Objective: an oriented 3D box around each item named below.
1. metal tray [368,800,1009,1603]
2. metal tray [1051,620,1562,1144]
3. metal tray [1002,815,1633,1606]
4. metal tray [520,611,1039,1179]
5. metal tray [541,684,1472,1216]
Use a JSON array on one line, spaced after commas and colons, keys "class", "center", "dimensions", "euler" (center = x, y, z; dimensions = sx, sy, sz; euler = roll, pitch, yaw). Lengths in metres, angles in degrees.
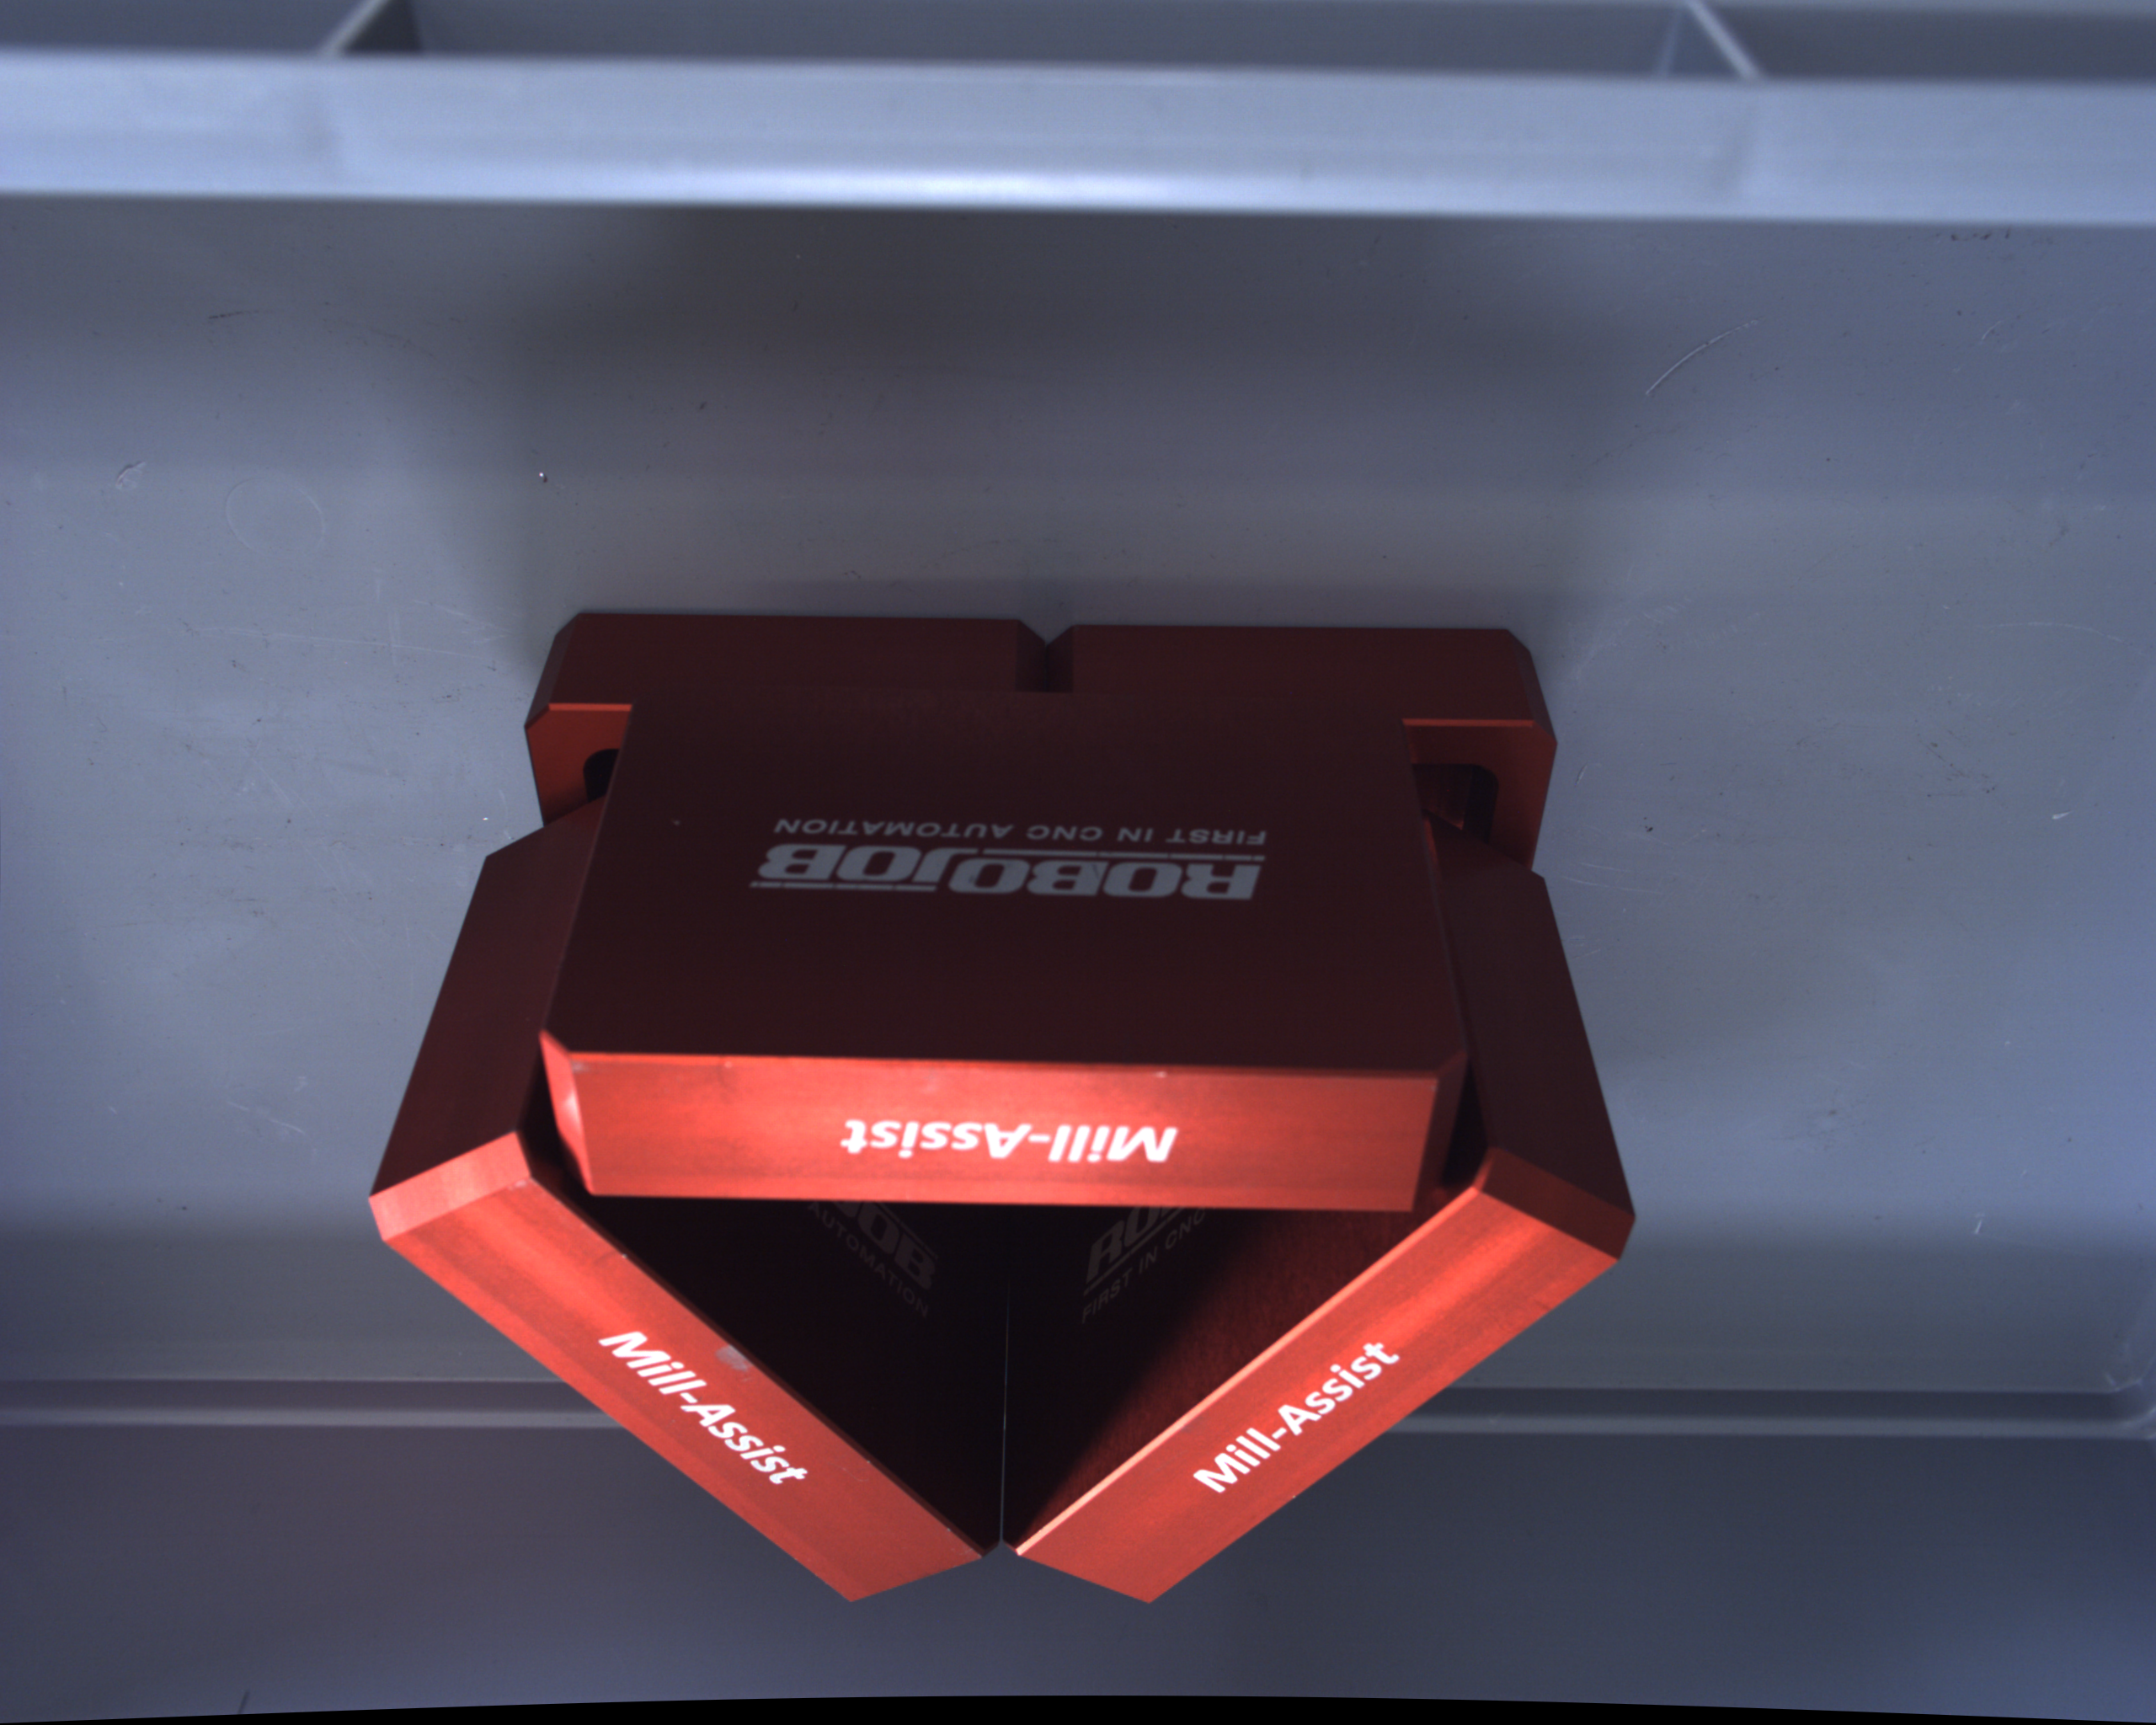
[{"class": "metal tray", "center": [-0.061, 0.061, 0.376], "dimensions": [0.030, 0.090, 0.130], "euler": [-25, 126, 20]}, {"class": "metal tray", "center": [0.039, 0.015, 0.417], "dimensions": [0.091, 0.030, 0.129], "euler": [1, 129, -1]}, {"class": "metal tray", "center": [0.036, 0.064, 0.378], "dimensions": [0.030, 0.090, 0.129], "euler": [29, 125, -22]}, {"class": "metal tray", "center": [-0.053, 0.013, 0.415], "dimensions": [0.091, 0.030, 0.129], "euler": [0, 129, 0]}, {"class": "metal tray", "center": [-0.010, 0.011, 0.333], "dimensions": [0.131, 0.090, 0.030], "euler": [2, 130, -1]}]
